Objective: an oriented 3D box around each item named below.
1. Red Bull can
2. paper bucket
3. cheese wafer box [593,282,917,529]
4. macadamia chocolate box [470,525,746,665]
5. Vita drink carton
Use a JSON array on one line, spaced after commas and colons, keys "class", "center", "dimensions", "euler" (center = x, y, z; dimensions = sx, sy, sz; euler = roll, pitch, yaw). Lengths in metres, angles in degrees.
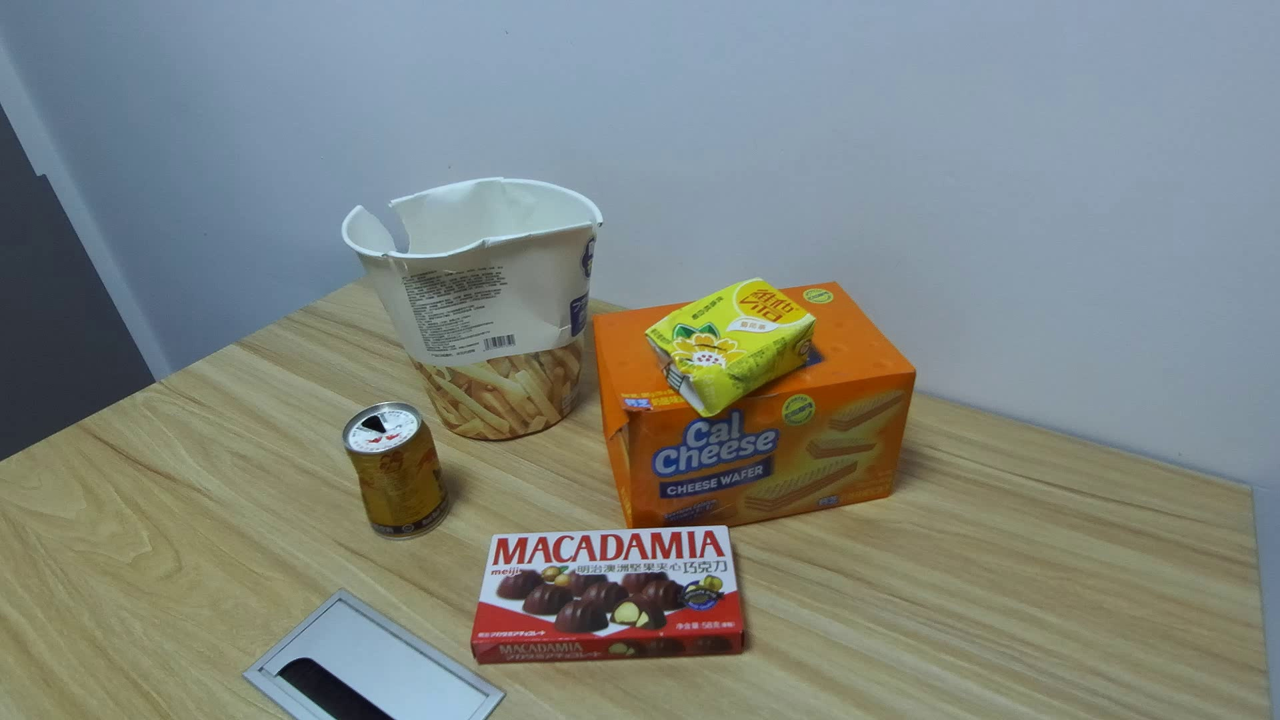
[{"class": "Red Bull can", "center": [-0.194, 0.088, 0.564], "dimensions": [0.068, 0.093, 0.068], "euler": [-3, 32, 2]}, {"class": "paper bucket", "center": [-0.140, -0.048, 0.657], "dimensions": [0.203, 0.197, 0.145], "euler": [-15, 35, -18]}, {"class": "cheese wafer box", "center": [0.083, 0.036, 0.580], "dimensions": [0.227, 0.137, 0.149], "euler": [-8, 35, -8]}, {"class": "macadamia chocolate box", "center": [-0.021, 0.163, 0.499], "dimensions": [0.178, 0.027, 0.095], "euler": [-2, 33, 1]}, {"class": "Vita drink carton", "center": [0.064, -0.010, 0.503], "dimensions": [0.108, 0.042, 0.086], "euler": [-24, 47, -24]}]
